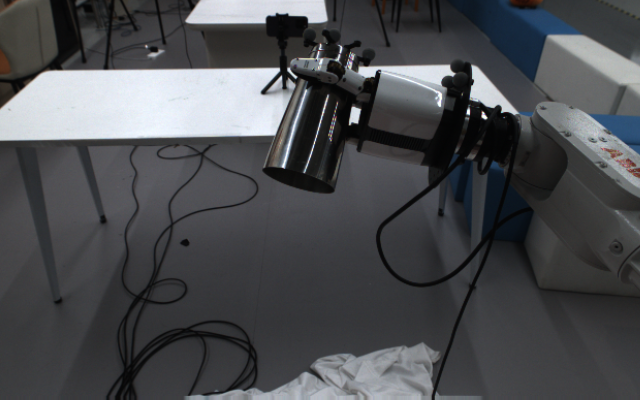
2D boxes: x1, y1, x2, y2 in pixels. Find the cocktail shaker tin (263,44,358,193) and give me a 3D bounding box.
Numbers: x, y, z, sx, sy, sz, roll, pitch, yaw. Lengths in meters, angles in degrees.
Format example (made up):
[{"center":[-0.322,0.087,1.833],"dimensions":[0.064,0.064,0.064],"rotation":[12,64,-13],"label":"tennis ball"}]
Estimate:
[{"center":[-0.001,-0.106,0.605],"dimensions":[0.093,0.093,0.170],"rotation":[13,79,15],"label":"cocktail shaker tin"}]
